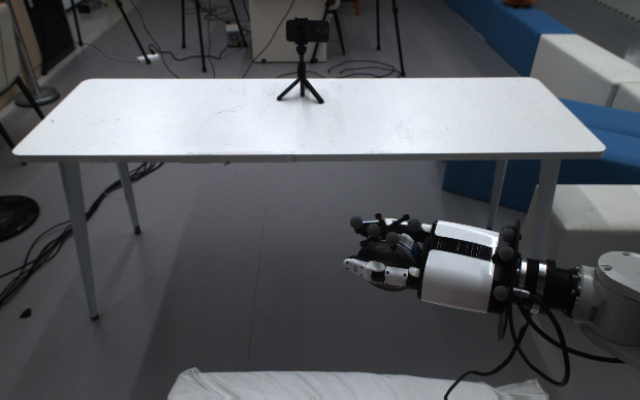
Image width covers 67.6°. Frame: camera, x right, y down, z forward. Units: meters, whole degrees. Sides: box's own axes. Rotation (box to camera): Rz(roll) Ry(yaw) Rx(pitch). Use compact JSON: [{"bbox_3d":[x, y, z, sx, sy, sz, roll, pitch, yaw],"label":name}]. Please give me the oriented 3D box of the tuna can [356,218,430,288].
[{"bbox_3d":[0.099,0.081,0.667,0.085,0.085,0.034,15,34,18],"label":"tuna can"}]
